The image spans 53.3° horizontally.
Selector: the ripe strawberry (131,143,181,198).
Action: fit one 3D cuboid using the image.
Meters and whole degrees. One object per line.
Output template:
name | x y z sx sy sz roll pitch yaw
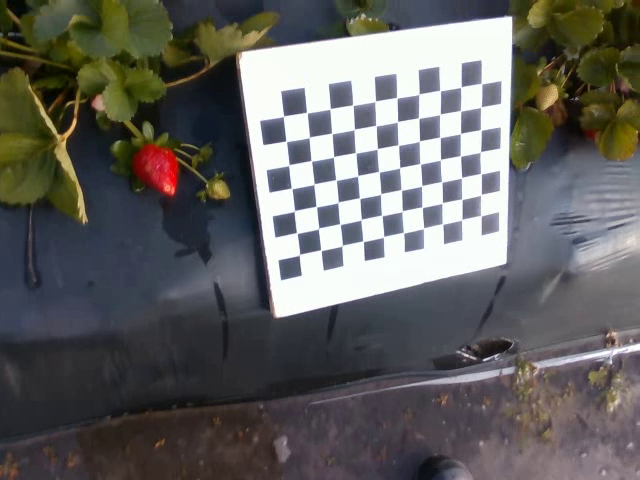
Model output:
ripe strawberry | -0.152 -0.063 0.606 0.043 0.057 0.052 -34 -35 0
